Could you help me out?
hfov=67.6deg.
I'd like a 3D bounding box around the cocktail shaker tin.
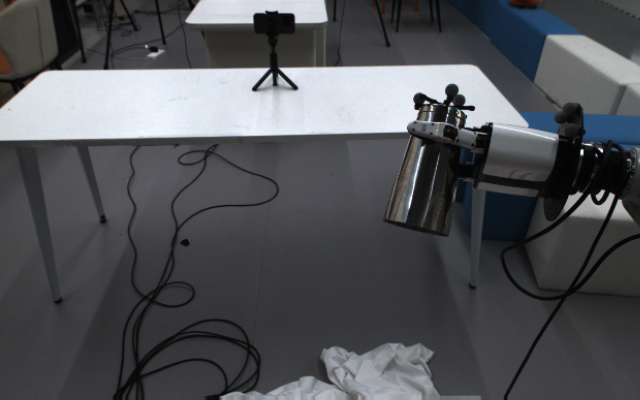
[{"bbox_3d":[0.155,-0.046,0.680,0.093,0.170,0.093,15,-5,1],"label":"cocktail shaker tin"}]
